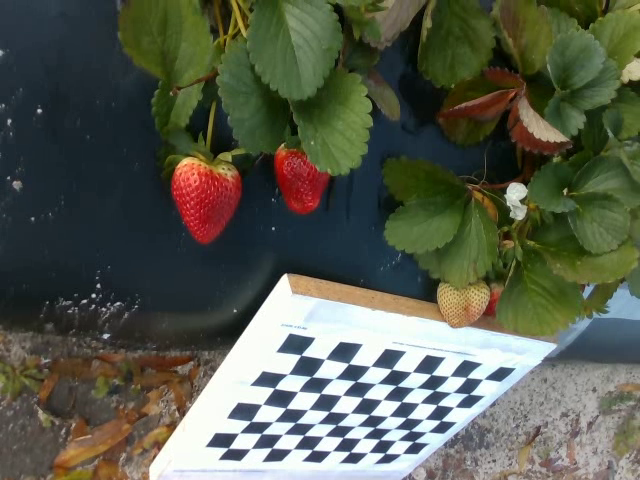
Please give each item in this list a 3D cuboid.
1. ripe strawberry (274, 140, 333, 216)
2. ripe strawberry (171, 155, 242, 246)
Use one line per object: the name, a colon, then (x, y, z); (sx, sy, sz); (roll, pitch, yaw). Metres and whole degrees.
ripe strawberry: (-0.010, -0.040, 0.403); (0.042, 0.053, 0.034); (3, 8, -17)
ripe strawberry: (-0.073, -0.024, 0.388); (0.050, 0.061, 0.045); (7, 3, -21)
